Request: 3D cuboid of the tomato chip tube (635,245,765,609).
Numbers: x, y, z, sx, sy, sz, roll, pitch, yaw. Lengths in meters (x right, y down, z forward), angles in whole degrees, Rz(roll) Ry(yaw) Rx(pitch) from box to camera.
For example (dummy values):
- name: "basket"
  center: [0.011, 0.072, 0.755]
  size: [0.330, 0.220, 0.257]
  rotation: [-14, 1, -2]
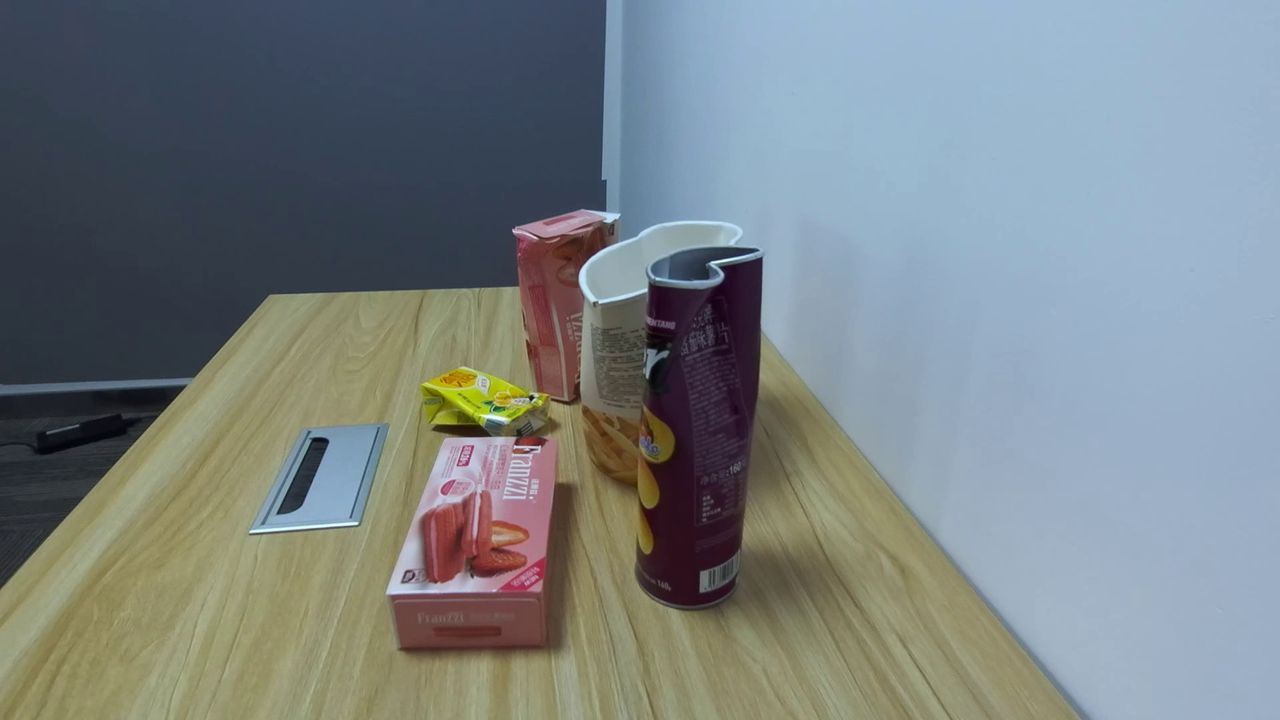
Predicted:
- name: "tomato chip tube"
  center: [0.039, 0.050, 0.468]
  size: [0.077, 0.235, 0.076]
  rotation: [2, 25, 1]

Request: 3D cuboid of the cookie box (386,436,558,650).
- name: "cookie box"
  center: [-0.113, 0.125, 0.524]
  size: [0.096, 0.048, 0.184]
  rotation: [0, 25, -4]

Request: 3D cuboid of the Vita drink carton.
- name: "Vita drink carton"
  center: [-0.151, 0.047, 0.696]
  size: [0.108, 0.042, 0.087]
  rotation: [17, 22, 22]

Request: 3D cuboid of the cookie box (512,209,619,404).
- name: "cookie box"
  center: [-0.071, -0.055, 0.745]
  size: [0.055, 0.184, 0.119]
  rotation: [18, 31, 33]
